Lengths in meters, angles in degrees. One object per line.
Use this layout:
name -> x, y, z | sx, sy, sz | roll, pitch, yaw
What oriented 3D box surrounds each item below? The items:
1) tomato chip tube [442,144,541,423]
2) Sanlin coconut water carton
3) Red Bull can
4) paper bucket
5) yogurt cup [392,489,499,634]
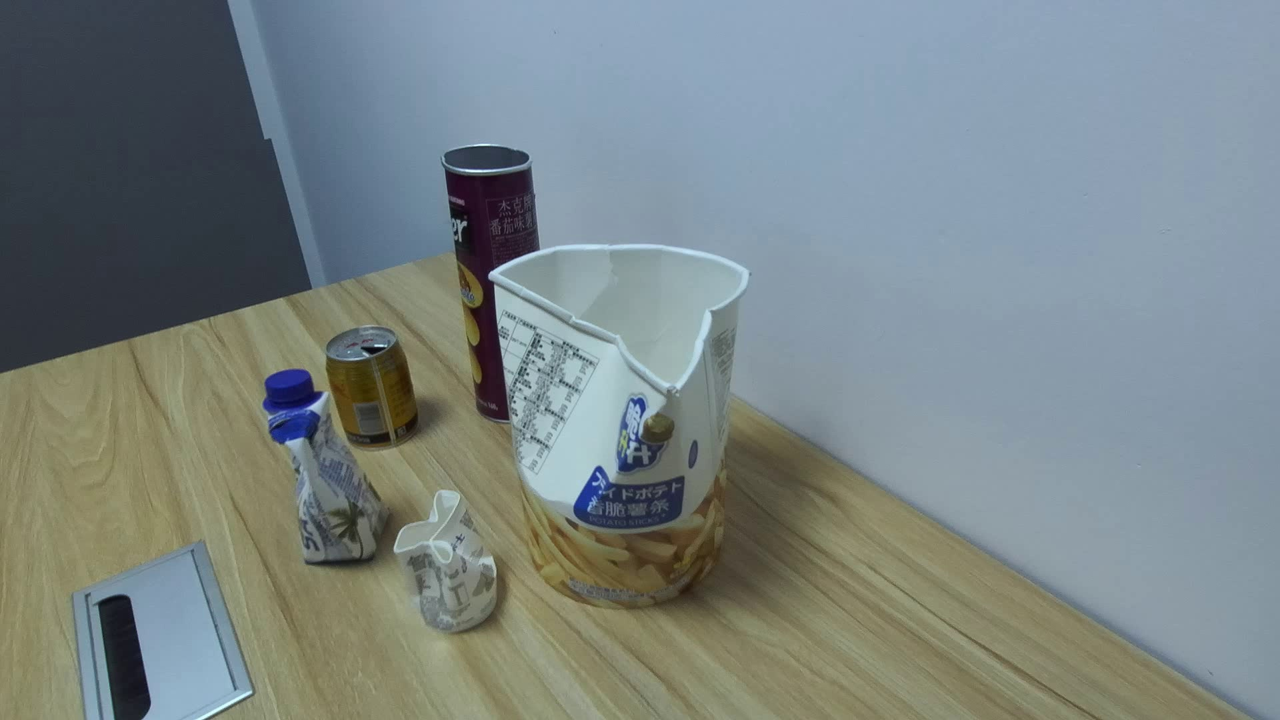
tomato chip tube -> -0.122, -0.063, 0.627 | 0.076, 0.234, 0.080 | 0, 32, 0
Sanlin coconut water carton -> -0.228, 0.080, 0.489 | 0.057, 0.145, 0.068 | -10, 39, 0
Red Bull can -> -0.241, 0.024, 0.634 | 0.068, 0.093, 0.068 | 0, 32, 1
paper bucket -> -0.021, 0.044, 0.488 | 0.162, 0.202, 0.169 | 9, 31, 19
yogurt cup -> -0.127, 0.134, 0.464 | 0.055, 0.072, 0.055 | 9, 33, 21
